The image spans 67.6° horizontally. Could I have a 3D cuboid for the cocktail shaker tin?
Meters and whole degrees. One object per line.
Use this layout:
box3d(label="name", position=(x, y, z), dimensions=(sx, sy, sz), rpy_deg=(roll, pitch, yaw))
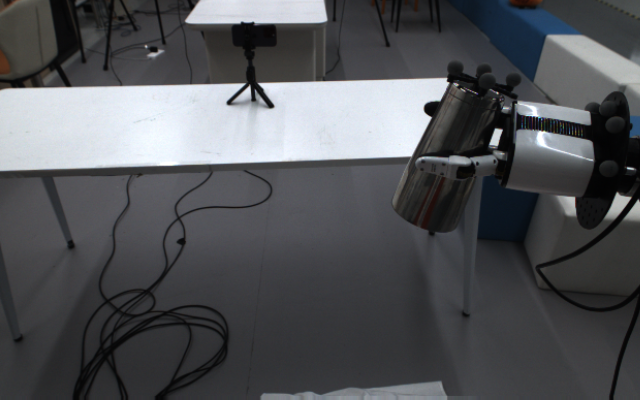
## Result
box3d(label="cocktail shaker tin", position=(0.161, -0.058, 0.595), dimensions=(0.093, 0.170, 0.093), rpy_deg=(12, 29, -7))
